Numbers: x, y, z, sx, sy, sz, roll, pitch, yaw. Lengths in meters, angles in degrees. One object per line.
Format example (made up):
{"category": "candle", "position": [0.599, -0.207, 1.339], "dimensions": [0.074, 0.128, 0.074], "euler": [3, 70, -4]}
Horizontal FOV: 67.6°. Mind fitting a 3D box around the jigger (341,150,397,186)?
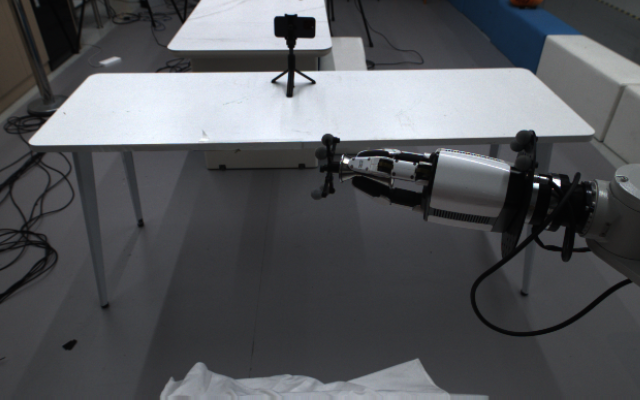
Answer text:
{"category": "jigger", "position": [0.069, -0.042, 0.634], "dimensions": [0.071, 0.043, 0.043], "euler": [6, 35, 14]}
